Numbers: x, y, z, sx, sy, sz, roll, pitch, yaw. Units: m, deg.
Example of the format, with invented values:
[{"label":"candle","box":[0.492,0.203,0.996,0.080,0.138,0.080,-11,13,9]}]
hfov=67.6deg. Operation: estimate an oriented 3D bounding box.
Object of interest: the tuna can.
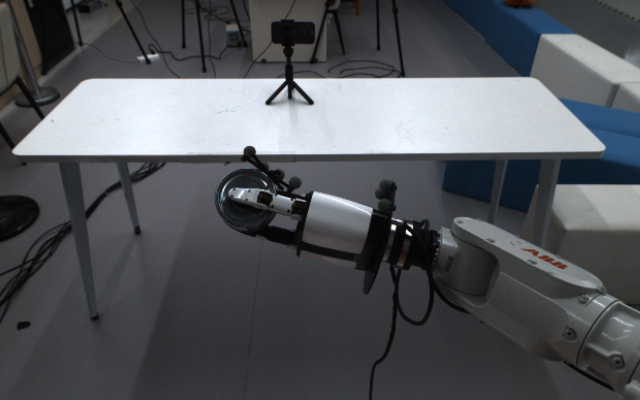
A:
[{"label":"tuna can","box":[-0.097,0.006,0.663,0.085,0.034,0.085,0,73,-1]}]
